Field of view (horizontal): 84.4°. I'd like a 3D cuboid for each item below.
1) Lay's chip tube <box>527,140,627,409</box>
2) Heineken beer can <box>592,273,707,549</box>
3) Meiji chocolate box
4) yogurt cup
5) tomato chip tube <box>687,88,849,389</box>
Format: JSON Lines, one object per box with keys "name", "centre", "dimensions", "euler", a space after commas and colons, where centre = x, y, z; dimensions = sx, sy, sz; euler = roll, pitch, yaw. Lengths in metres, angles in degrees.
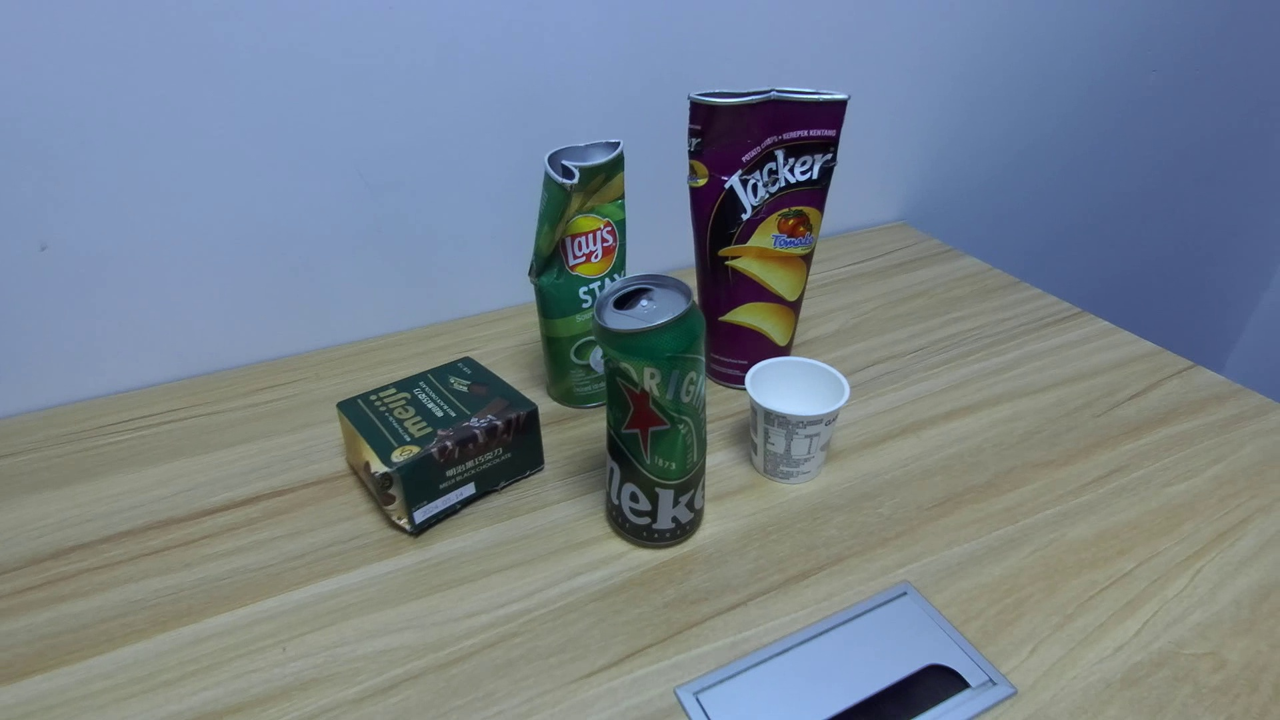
{"name": "Lay's chip tube", "centre": [-0.046, -0.063, 0.554], "dimensions": [0.069, 0.201, 0.077], "euler": [1, 37, 1]}
{"name": "Heineken beer can", "centre": [0.007, 0.036, 0.430], "dimensions": [0.069, 0.168, 0.068], "euler": [5, 36, 14]}
{"name": "Meiji chocolate box", "centre": [-0.145, 0.055, 0.513], "dimensions": [0.123, 0.058, 0.115], "euler": [-24, 37, -33]}
{"name": "yogurt cup", "centre": [0.107, 0.045, 0.502], "dimensions": [0.072, 0.068, 0.072], "euler": [0, 33, 1]}
{"name": "tomato chip tube", "centre": [0.090, -0.091, 0.562], "dimensions": [0.078, 0.236, 0.089], "euler": [-29, 44, -34]}
